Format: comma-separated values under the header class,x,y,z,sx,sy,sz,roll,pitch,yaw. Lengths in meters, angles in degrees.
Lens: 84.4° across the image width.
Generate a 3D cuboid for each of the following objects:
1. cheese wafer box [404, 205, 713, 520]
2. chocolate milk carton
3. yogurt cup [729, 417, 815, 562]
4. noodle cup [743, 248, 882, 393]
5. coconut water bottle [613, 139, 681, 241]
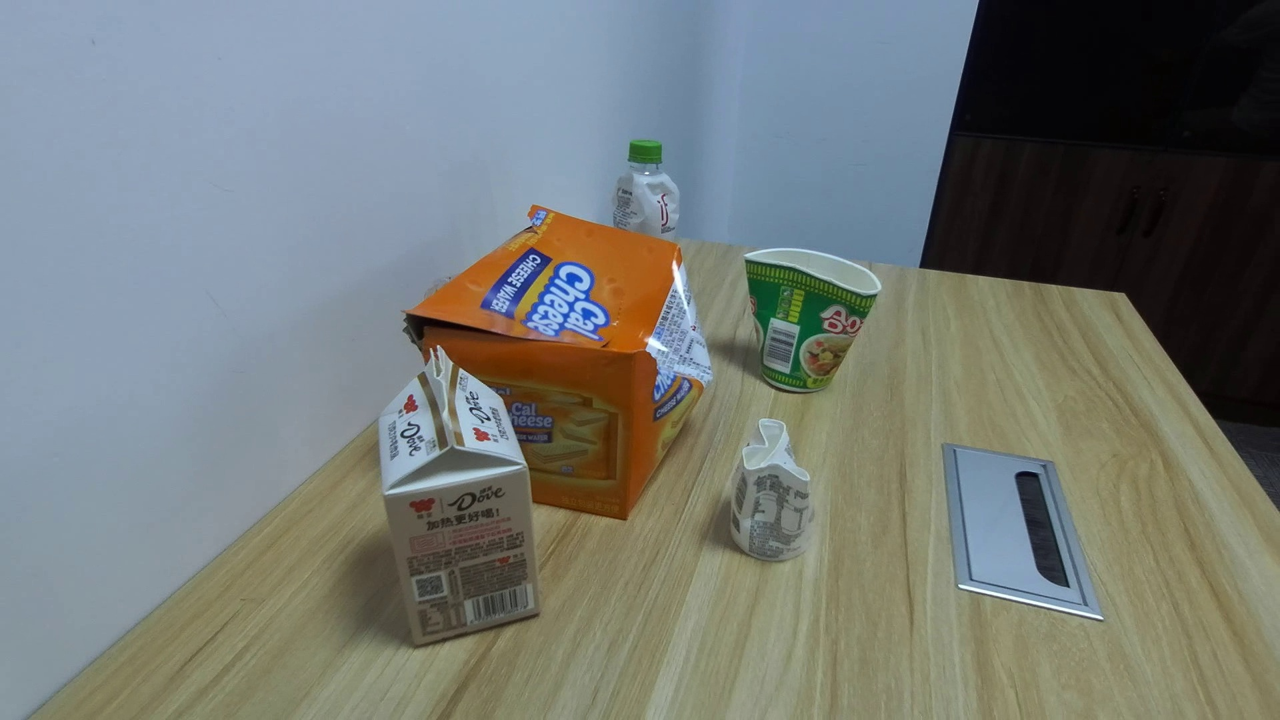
class,x,y,z,sx,sy,sz,roll,pitch,yaw
cheese wafer box,-0.038,-0.012,0.550,0.191,0.145,0.219,7,30,12
chocolate milk carton,-0.101,0.071,0.390,0.074,0.148,0.075,-9,30,-18
yogurt cup,0.085,0.084,0.452,0.055,0.072,0.055,11,32,21
noodle cup,0.147,-0.034,0.624,0.070,0.111,0.114,-15,34,-24
coconut water bottle,0.005,-0.119,0.695,0.067,0.187,0.067,2,24,0
